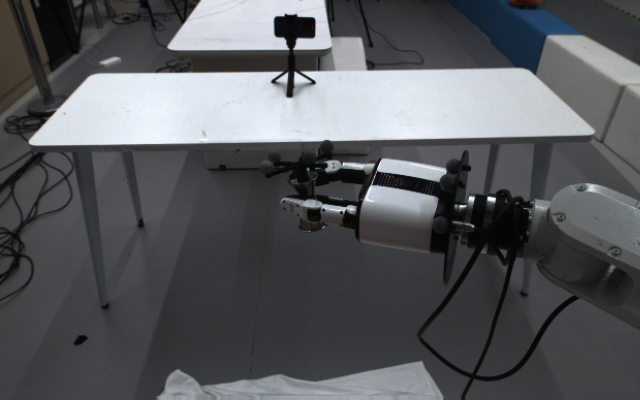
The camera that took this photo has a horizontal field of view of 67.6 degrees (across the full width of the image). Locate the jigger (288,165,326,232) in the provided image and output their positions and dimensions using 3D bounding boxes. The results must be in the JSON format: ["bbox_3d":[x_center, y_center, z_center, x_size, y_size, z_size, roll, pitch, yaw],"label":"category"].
[{"bbox_3d":[-0.014,0.001,0.625,0.043,0.071,0.043,-11,24,5],"label":"jigger"}]
